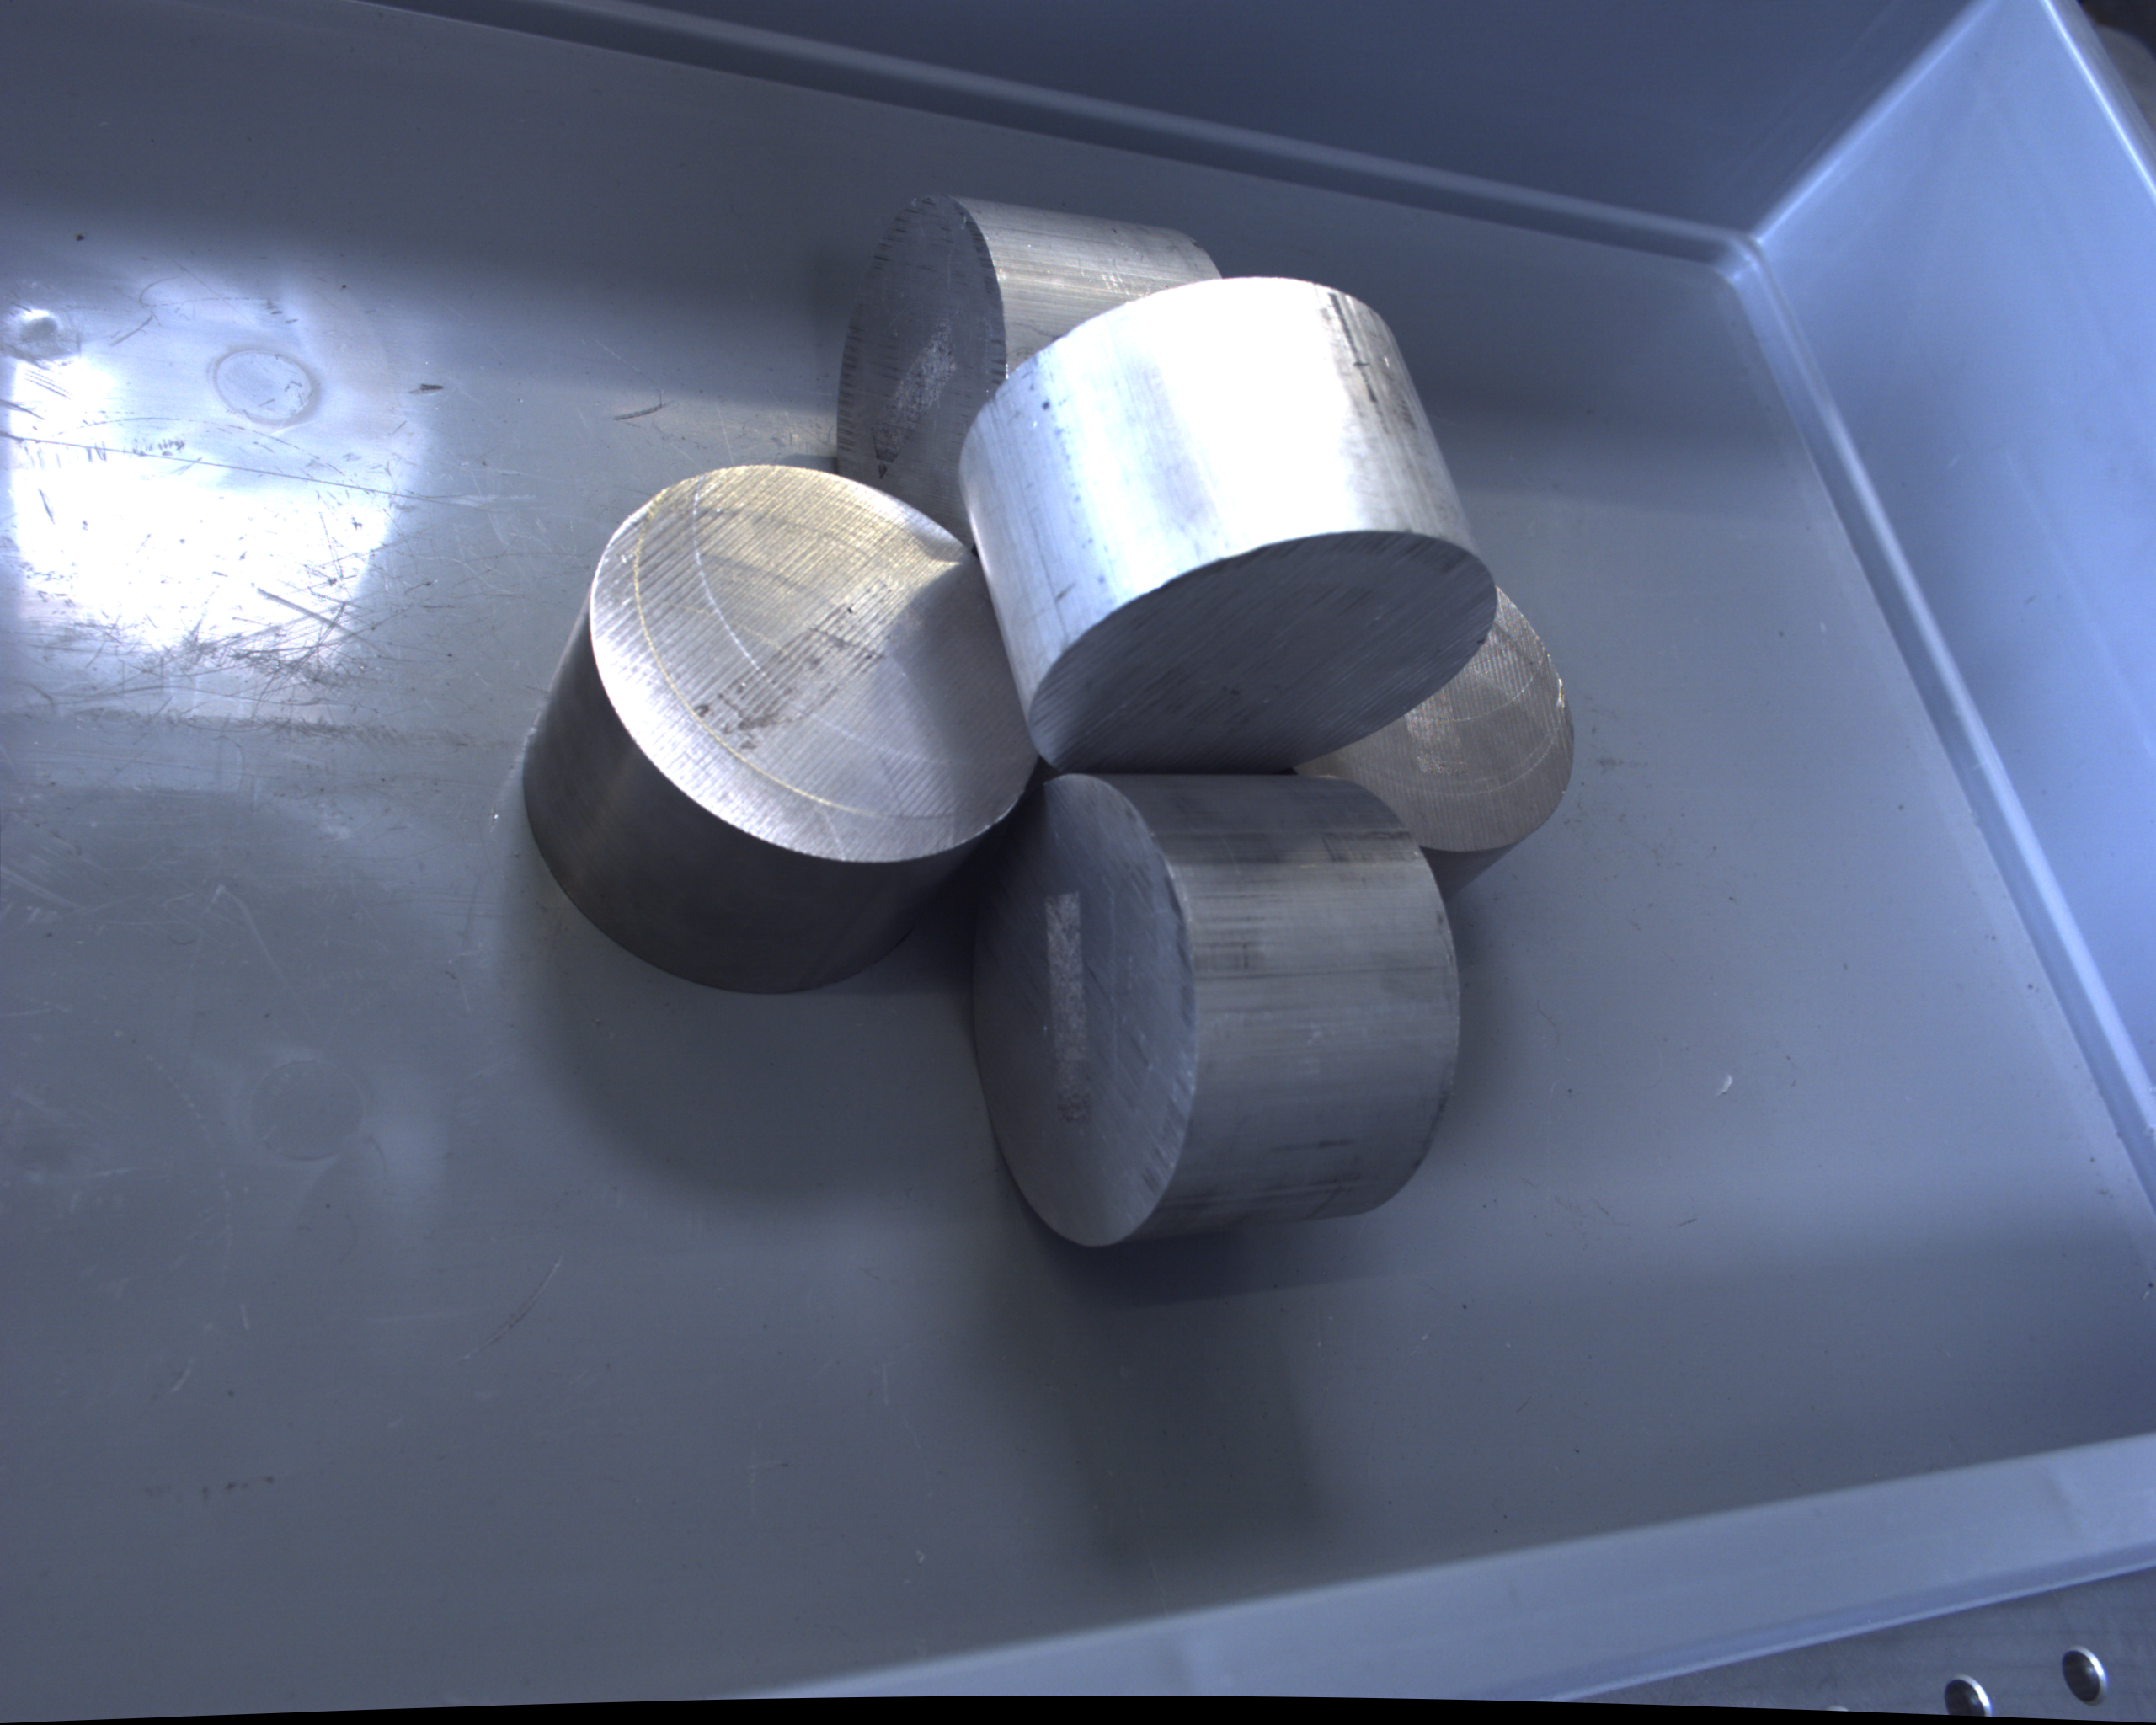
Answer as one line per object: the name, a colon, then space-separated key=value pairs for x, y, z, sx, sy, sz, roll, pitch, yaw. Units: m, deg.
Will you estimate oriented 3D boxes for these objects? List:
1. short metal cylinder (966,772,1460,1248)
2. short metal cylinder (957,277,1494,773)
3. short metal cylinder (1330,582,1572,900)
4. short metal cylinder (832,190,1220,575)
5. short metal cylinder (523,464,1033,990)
short metal cylinder: x=0.021 y=0.024 z=0.364 sx=0.050 sy=0.080 sz=0.080 roll=-2 pitch=63 yaw=-30
short metal cylinder: x=0.024 y=-0.053 z=0.357 sx=0.081 sy=0.080 sz=0.050 roll=-1 pitch=62 yaw=-29
short metal cylinder: x=0.054 y=-0.026 z=0.431 sx=0.081 sy=0.050 sz=0.080 roll=14 pitch=56 yaw=-21
short metal cylinder: x=-0.010 y=-0.090 z=0.417 sx=0.050 sy=0.080 sz=0.080 roll=-2 pitch=63 yaw=-30
short metal cylinder: x=-0.053 y=-0.024 z=0.373 sx=0.081 sy=0.050 sz=0.080 roll=14 pitch=56 yaw=-21
